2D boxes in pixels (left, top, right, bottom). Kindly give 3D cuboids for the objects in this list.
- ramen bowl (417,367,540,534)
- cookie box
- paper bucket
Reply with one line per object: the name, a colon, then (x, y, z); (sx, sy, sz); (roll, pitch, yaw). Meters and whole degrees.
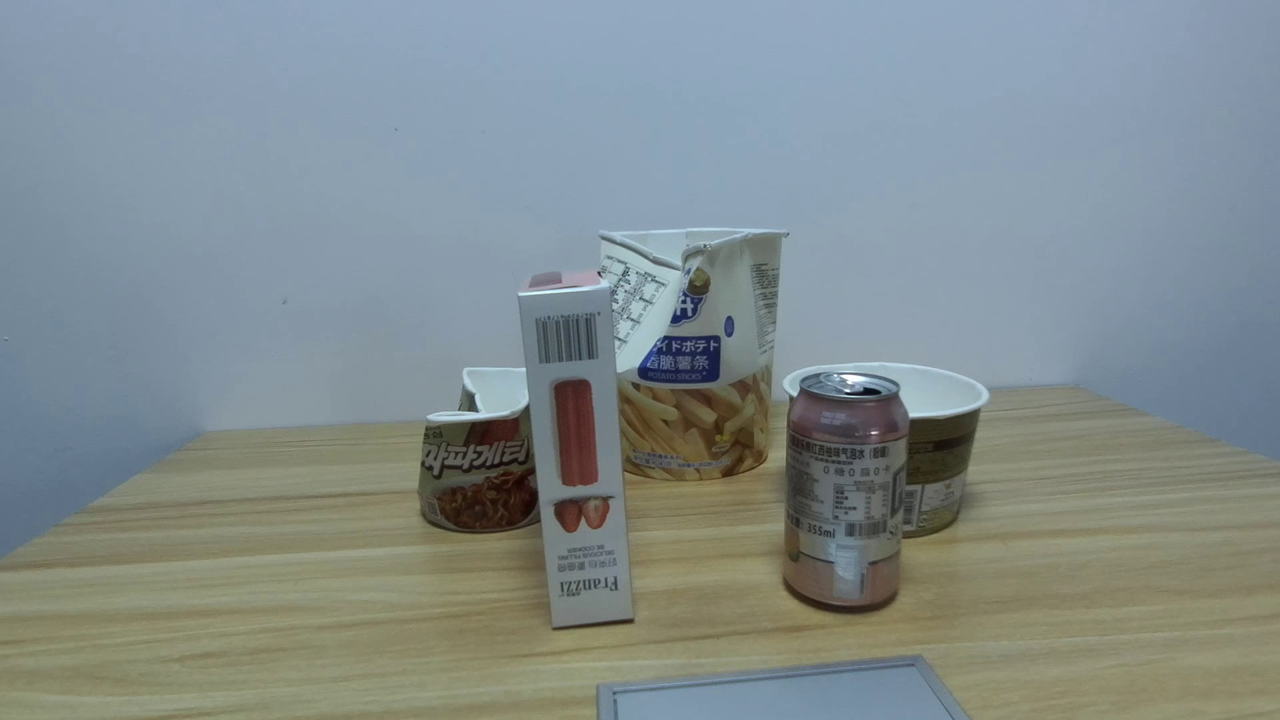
ramen bowl: (-0.113, 0.067, 0.531); (0.111, 0.093, 0.128); (2, 14, 17)
cookie box: (-0.035, 0.043, 0.410); (0.049, 0.187, 0.105); (-4, 14, -4)
paper bucket: (0.033, -0.013, 0.626); (0.162, 0.202, 0.170); (5, 12, 33)
